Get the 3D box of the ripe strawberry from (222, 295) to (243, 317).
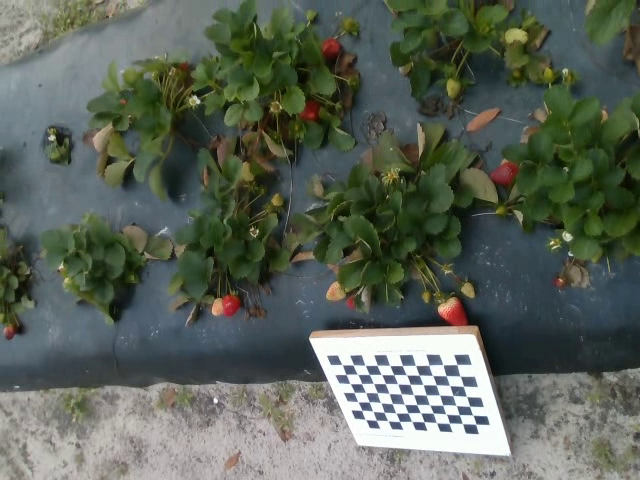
[{"bbox_3d":[-0.157,0.114,1.129,0.034,0.042,0.033,21,-20,11],"label":"ripe strawberry"}]
